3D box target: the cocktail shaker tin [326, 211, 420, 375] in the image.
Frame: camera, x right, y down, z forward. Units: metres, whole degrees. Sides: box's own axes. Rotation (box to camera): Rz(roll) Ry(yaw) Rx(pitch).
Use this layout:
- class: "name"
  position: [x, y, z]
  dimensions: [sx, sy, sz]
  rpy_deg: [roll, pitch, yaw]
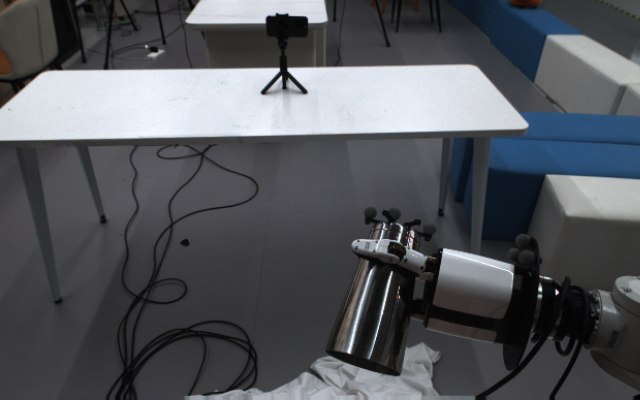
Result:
- class: "cocktail shaker tin"
  position: [0.079, 0.113, 0.597]
  dimensions: [0.093, 0.093, 0.170]
  rpy_deg: [12, 64, 14]
